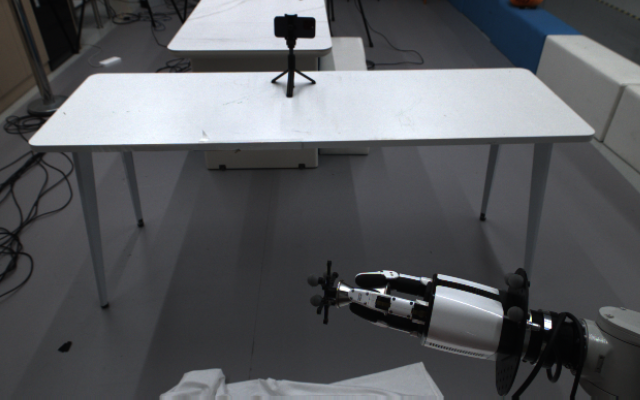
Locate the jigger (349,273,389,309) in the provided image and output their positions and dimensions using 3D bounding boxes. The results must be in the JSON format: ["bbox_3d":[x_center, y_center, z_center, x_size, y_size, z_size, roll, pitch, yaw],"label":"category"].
[{"bbox_3d":[0.067,0.126,0.663,0.071,0.043,0.043,2,33,17],"label":"jigger"}]
